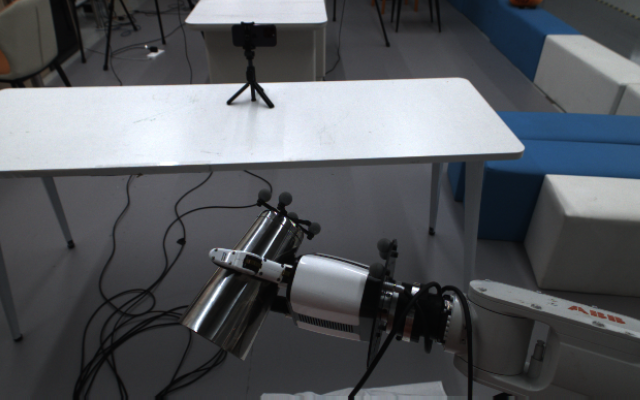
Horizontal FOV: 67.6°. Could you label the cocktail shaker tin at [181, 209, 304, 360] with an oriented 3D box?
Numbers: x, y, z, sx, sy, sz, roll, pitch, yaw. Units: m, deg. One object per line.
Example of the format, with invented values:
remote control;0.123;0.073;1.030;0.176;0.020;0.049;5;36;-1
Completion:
cocktail shaker tin;-0.088;0.097;0.602;0.093;0.093;0.170;20;66;24
